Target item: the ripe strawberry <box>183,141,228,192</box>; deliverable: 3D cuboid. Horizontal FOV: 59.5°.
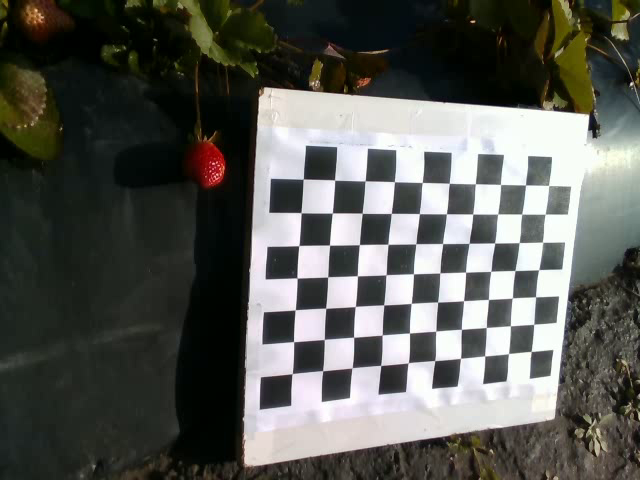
[{"bbox_3d":[-0.069,-0.042,0.335,0.034,0.038,0.033,-1,-44,-18],"label":"ripe strawberry"}]
